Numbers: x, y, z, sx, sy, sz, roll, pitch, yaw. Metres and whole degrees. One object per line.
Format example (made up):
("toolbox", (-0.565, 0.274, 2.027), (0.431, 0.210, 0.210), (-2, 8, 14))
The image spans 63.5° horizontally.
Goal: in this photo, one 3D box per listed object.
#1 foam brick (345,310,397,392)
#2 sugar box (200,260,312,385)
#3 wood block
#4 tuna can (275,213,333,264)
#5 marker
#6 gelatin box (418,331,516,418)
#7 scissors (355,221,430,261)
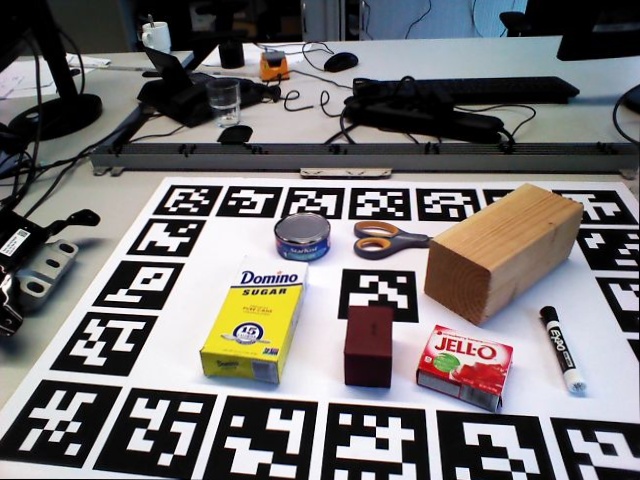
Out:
("foam brick", (0.060, 0.125, 0.586), (0.053, 0.051, 0.077), (2, 38, 11))
("sugar box", (-0.073, 0.097, 0.653), (0.093, 0.045, 0.175), (5, 38, 12))
("wood block", (0.255, 0.020, 0.680), (0.205, 0.091, 0.090), (-27, 41, -28))
("tuna can", (-0.024, -0.003, 0.782), (0.086, 0.034, 0.085), (-4, 38, 3))
("marker", (0.276, 0.126, 0.587), (0.020, 0.020, 0.120), (2, 40, 10))
("gelatin box", (0.162, 0.145, 0.571), (0.090, 0.030, 0.073), (14, 42, 24))
("scissors", (0.150, 0.006, 0.769), (0.204, 0.016, 0.087), (5, 38, 16))
